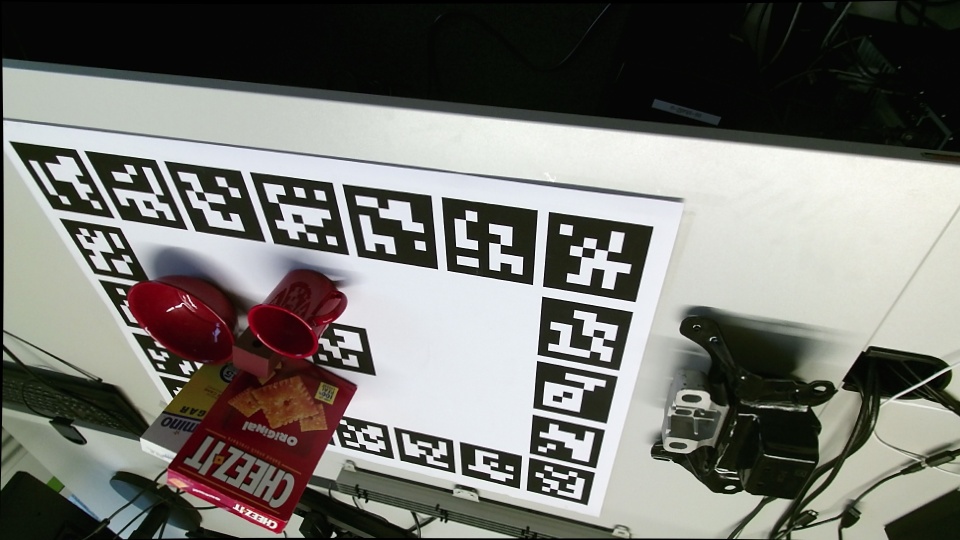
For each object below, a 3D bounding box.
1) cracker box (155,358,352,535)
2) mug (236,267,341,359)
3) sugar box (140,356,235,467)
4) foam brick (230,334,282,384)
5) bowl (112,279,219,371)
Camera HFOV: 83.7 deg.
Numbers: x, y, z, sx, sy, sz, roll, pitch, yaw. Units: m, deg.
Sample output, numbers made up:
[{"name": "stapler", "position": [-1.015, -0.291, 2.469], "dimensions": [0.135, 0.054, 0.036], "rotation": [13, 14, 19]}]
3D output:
[{"name": "cracker box", "position": [-0.304, 0.231, 0.751], "dimensions": [0.164, 0.213, 0.072], "rotation": [31, 132, -7]}, {"name": "mug", "position": [-0.227, 0.051, 0.663], "dimensions": [0.117, 0.081, 0.093], "rotation": [0, 136, 15]}, {"name": "sugar box", "position": [-0.407, 0.215, 0.794], "dimensions": [0.093, 0.176, 0.045], "rotation": [24, 131, -3]}, {"name": "foam brick", "position": [-0.303, 0.106, 0.745], "dimensions": [0.053, 0.078, 0.051], "rotation": [20, 132, 1]}, {"name": "bowl", "position": [-0.424, 0.067, 0.746], "dimensions": [0.162, 0.055, 0.162], "rotation": [9, 129, 11]}]
